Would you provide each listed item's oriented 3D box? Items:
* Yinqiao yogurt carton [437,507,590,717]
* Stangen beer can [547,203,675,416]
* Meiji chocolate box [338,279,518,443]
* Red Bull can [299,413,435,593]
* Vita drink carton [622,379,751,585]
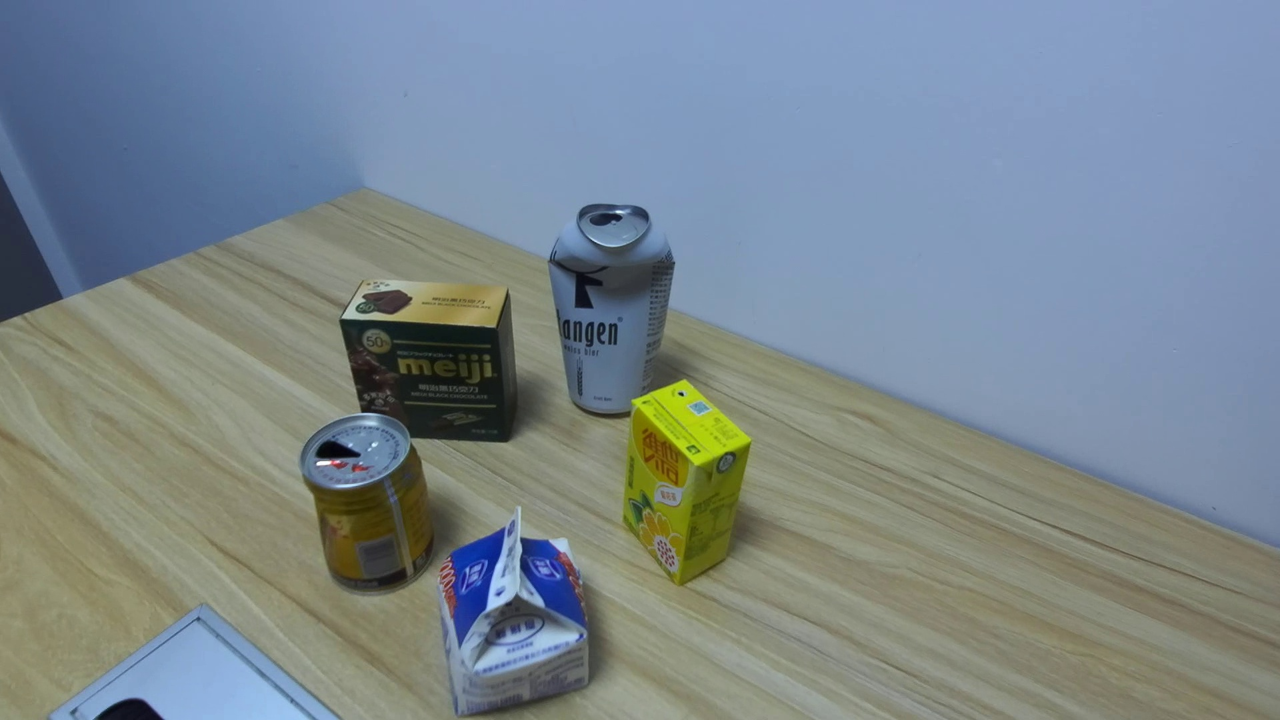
[{"bbox_3d":[-0.068,0.128,0.376,0.077,0.093,0.083,-7,38,-14],"label":"Yinqiao yogurt carton"},{"bbox_3d":[-0.023,-0.035,0.537,0.077,0.162,0.065,-23,45,-31],"label":"Stangen beer can"},{"bbox_3d":[-0.151,0.003,0.524,0.110,0.109,0.056,3,37,-1],"label":"Meiji chocolate box"},{"bbox_3d":[-0.162,0.086,0.423,0.069,0.092,0.069,3,36,-2],"label":"Red Bull can"},{"bbox_3d":[0.027,0.076,0.439,0.044,0.109,0.066,-20,44,-28],"label":"Vita drink carton"}]
